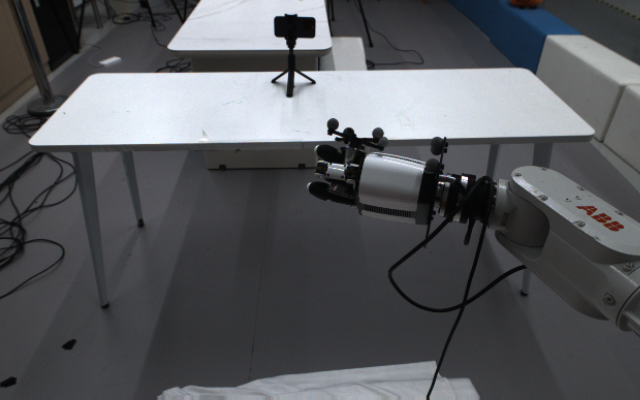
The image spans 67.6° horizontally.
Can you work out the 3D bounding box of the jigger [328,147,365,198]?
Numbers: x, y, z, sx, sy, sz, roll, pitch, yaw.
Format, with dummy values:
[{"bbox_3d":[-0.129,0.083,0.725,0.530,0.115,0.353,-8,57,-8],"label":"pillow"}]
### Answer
[{"bbox_3d":[0.042,-0.041,0.714,0.043,0.071,0.043,15,-7,2],"label":"jigger"}]
